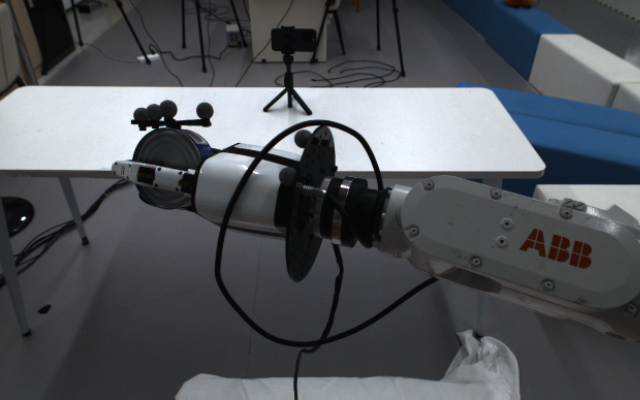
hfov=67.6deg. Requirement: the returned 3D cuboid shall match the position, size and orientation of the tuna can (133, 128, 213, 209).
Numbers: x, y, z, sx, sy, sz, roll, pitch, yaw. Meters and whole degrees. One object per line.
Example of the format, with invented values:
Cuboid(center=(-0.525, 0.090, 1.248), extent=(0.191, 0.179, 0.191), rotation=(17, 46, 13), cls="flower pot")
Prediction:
Cuboid(center=(-0.154, -0.034, 0.521), extent=(0.085, 0.085, 0.034), rotation=(15, 9, 18), cls="tuna can")
